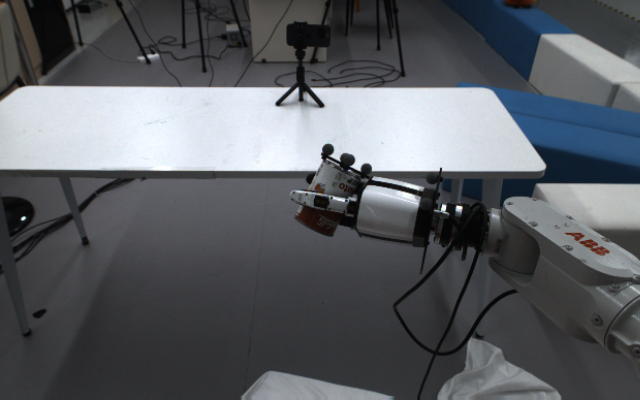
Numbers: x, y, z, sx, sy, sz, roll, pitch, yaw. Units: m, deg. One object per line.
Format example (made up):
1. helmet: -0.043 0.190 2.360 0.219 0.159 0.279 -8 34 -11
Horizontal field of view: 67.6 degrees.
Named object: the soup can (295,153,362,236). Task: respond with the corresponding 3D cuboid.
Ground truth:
1. soup can: 0.013 -0.003 0.741 0.067 0.101 0.067 26 5 -3
